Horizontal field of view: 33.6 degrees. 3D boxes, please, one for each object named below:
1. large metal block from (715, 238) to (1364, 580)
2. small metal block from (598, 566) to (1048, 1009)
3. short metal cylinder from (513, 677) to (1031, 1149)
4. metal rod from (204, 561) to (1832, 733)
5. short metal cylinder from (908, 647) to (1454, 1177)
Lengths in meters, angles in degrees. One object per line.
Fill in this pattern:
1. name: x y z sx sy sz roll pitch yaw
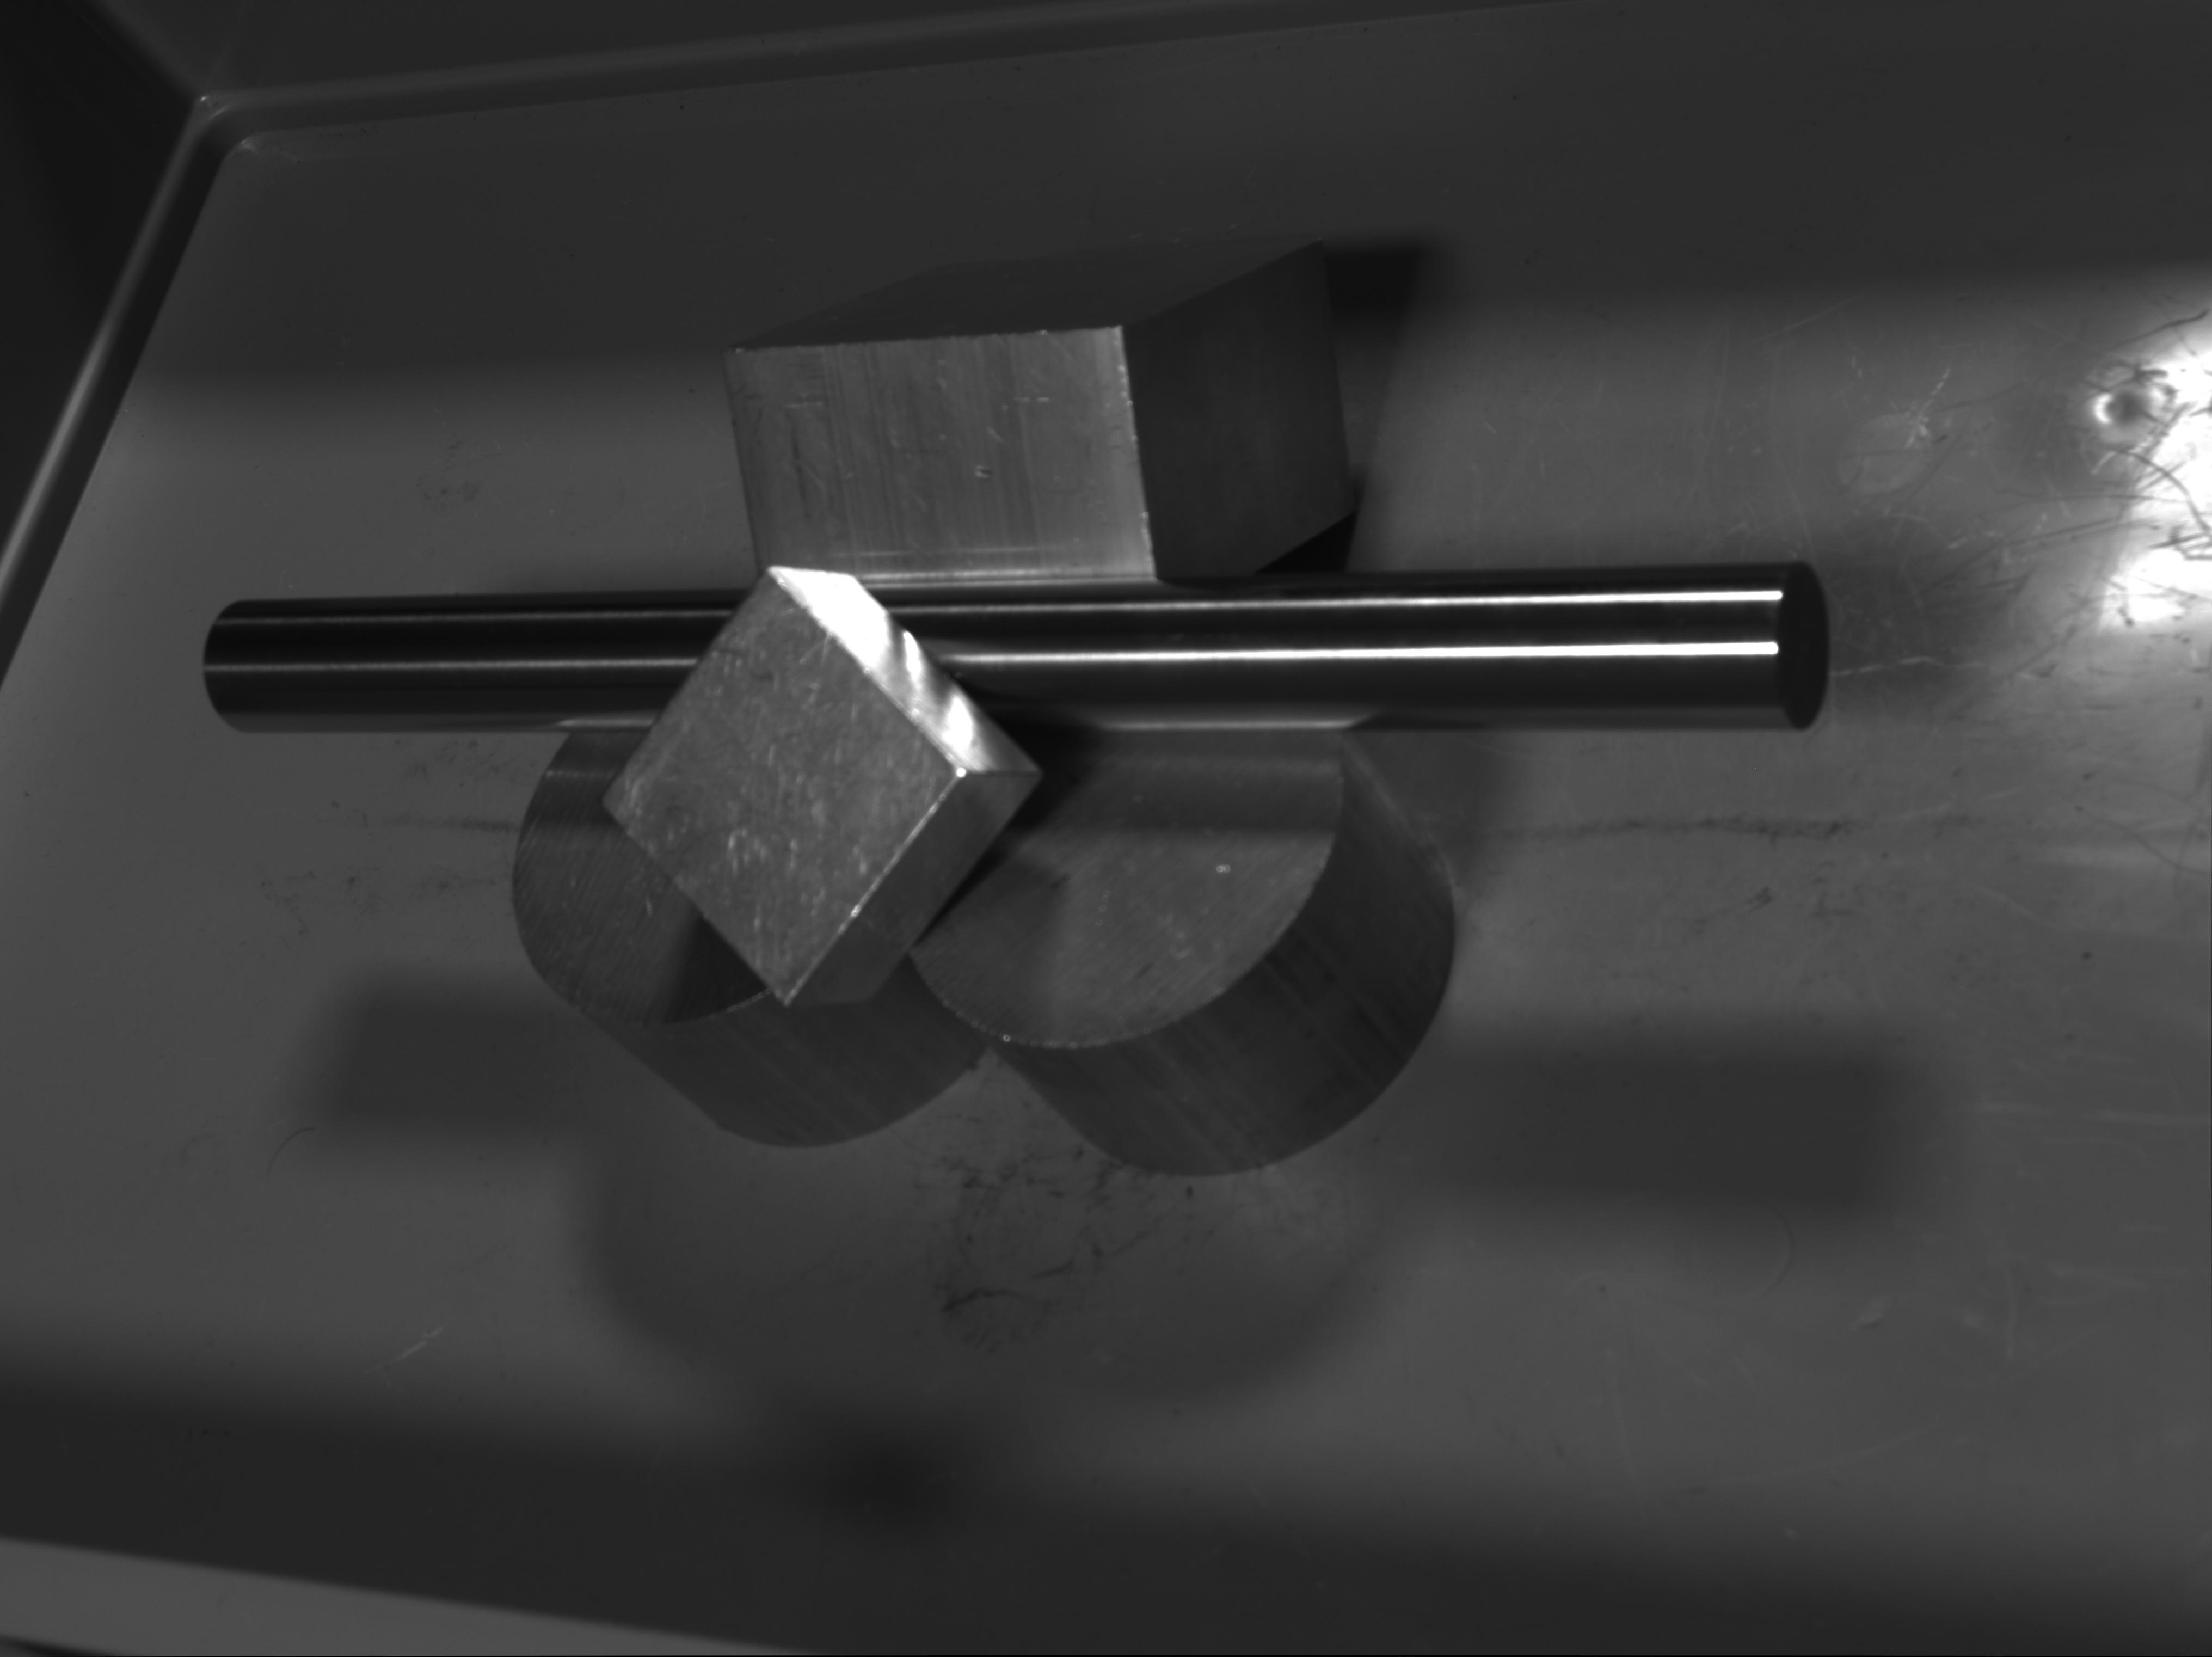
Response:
1. large metal block: -0.010 -0.070 0.649 0.080 0.050 0.080 1 19 29
2. small metal block: -0.046 -0.007 0.593 0.050 0.025 0.050 45 110 21
3. short metal cylinder: -0.058 0.010 0.652 0.080 0.050 0.080 -13 56 21
4. metal rod: -0.028 -0.029 0.611 0.299 0.025 0.025 1 62 29
5. short metal cylinder: 0.012 0.012 0.614 0.080 0.050 0.080 -13 56 21
